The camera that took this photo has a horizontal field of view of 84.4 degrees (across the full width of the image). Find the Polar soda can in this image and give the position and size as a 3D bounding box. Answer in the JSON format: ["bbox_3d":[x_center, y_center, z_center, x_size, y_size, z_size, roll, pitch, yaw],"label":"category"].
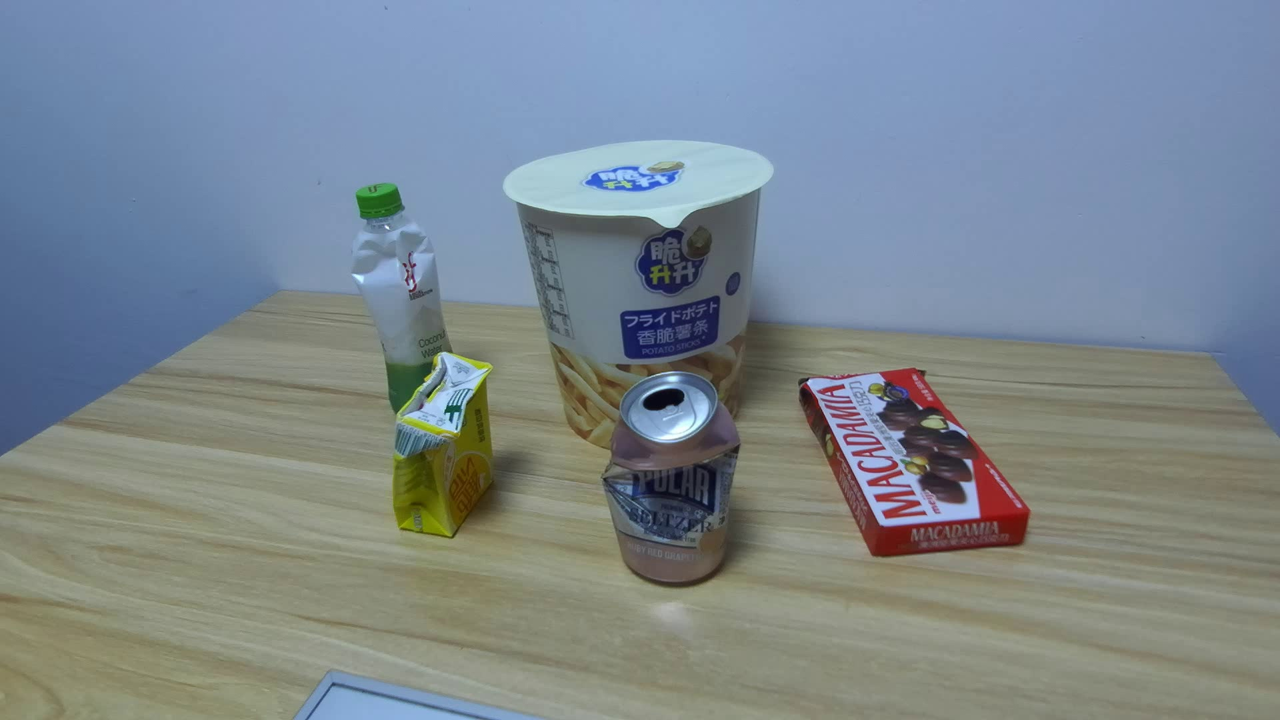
[{"bbox_3d":[0.017,0.073,0.411,0.071,0.122,0.066,-17,36,-21],"label":"Polar soda can"}]

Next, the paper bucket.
[{"bbox_3d":[0.005,-0.050,0.547,0.198,0.195,0.198,-3,30,2],"label":"paper bucket"}]

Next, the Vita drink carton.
[{"bbox_3d":[-0.127,0.058,0.468,0.042,0.108,0.087,17,37,9],"label":"Vita drink carton"}]

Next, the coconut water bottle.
[{"bbox_3d":[-0.187,-0.045,0.569,0.069,0.186,0.069,-2,28,1],"label":"coconut water bottle"}]

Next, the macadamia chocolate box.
[{"bbox_3d":[0.185,0.062,0.503,0.106,0.028,0.182,-4,29,-1],"label":"macadamia chocolate box"}]
